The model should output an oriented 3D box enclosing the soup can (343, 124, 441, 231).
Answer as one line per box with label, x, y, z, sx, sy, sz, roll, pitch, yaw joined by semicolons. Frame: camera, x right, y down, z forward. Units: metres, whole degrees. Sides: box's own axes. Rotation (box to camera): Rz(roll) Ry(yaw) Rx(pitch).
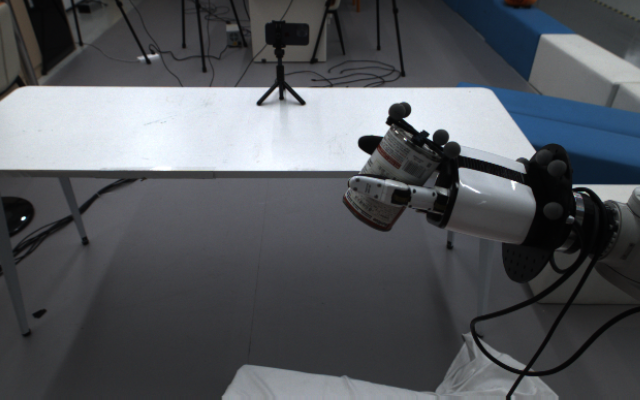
soup can;0.081;-0.025;0.543;0.067;0.101;0.067;28;22;-12
